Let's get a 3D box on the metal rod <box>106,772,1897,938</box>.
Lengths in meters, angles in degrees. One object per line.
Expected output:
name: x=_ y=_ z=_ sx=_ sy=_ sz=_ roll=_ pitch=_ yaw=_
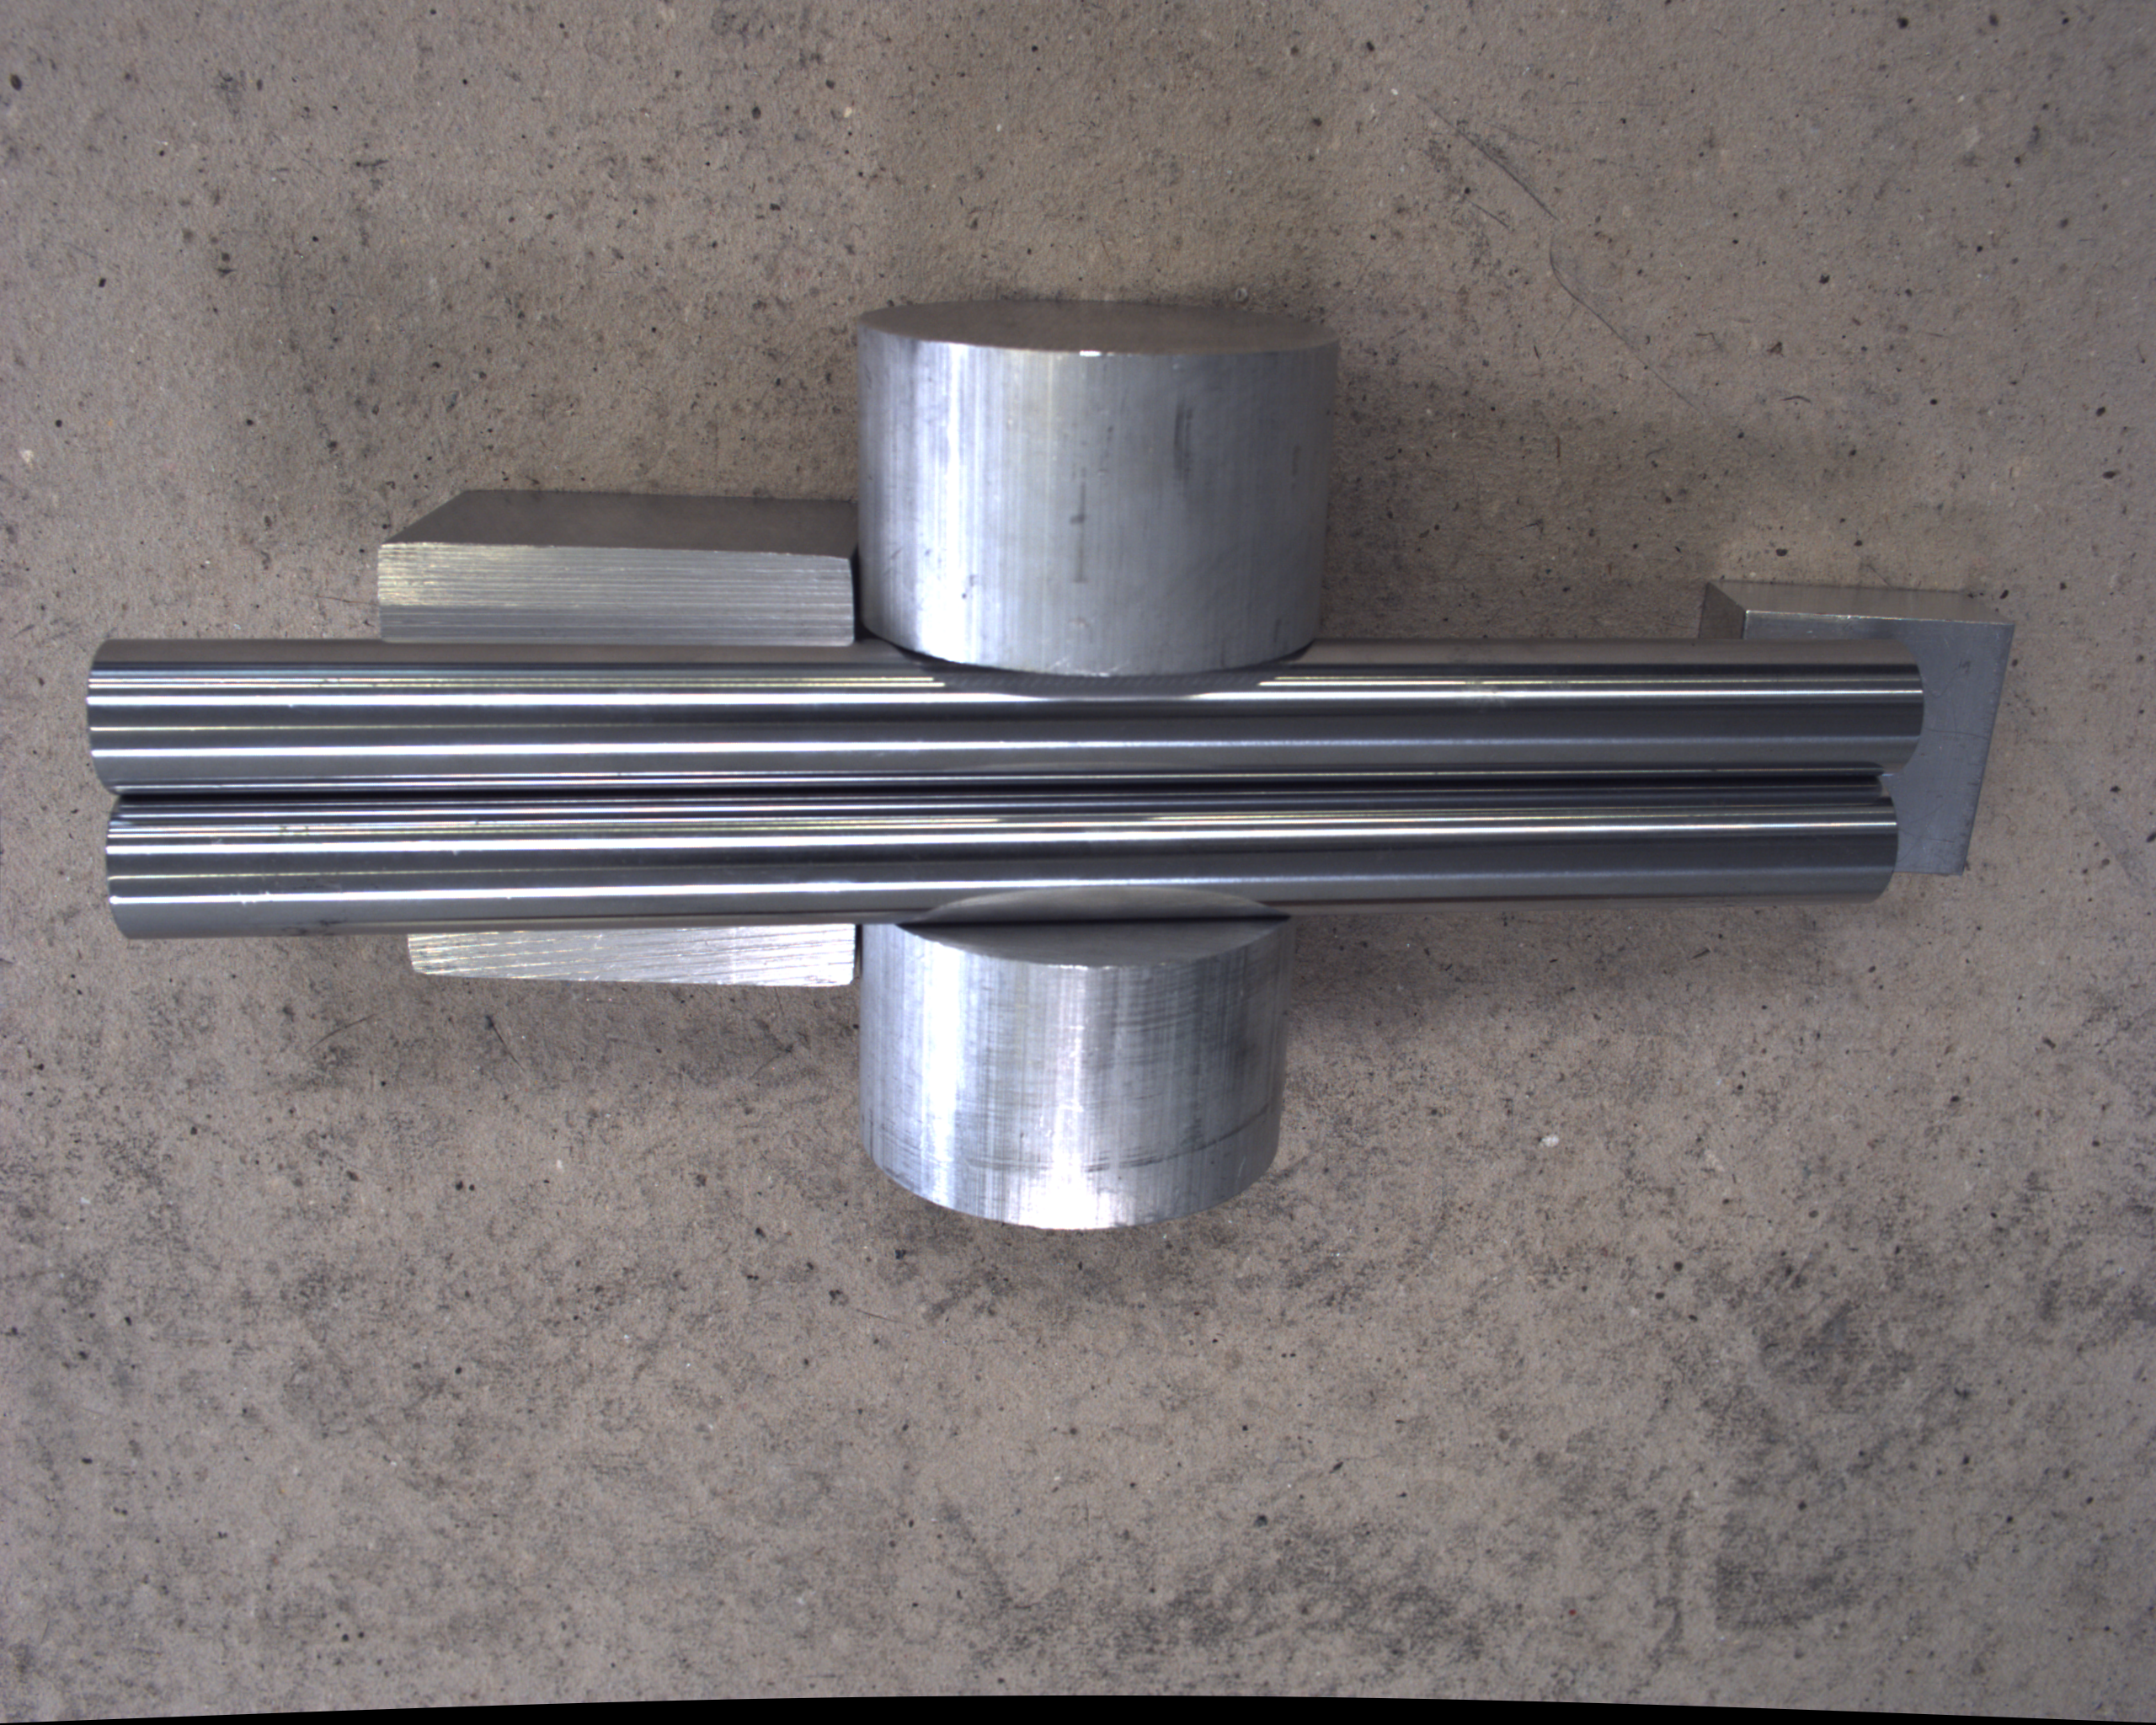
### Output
metal rod: x=-0.005 y=-0.003 z=0.362 sx=0.302 sy=0.025 sz=0.025 roll=-1 pitch=110 yaw=-8

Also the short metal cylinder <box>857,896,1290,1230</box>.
short metal cylinder: x=-0.001 y=0.027 z=0.391 sx=0.081 sy=0.080 sz=0.050 roll=1 pitch=110 yaw=-1

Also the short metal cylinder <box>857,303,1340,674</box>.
short metal cylinder: x=0.003 y=-0.067 z=0.357 sx=0.081 sy=0.080 sz=0.050 roll=1 pitch=110 yaw=-1

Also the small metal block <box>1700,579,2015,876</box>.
small metal block: x=0.146 y=-0.026 z=0.403 sx=0.050 sy=0.025 sz=0.050 roll=3 pitch=110 yaw=-1

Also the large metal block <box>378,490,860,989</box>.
large metal block: x=-0.079 y=-0.024 z=0.388 sx=0.081 sy=0.050 sz=0.079 roll=2 pitch=110 yaw=-1

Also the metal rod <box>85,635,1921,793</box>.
metal rod: x=-0.004 y=-0.026 z=0.354 sx=0.302 sy=0.025 sz=0.025 roll=-1 pitch=110 yaw=-8
